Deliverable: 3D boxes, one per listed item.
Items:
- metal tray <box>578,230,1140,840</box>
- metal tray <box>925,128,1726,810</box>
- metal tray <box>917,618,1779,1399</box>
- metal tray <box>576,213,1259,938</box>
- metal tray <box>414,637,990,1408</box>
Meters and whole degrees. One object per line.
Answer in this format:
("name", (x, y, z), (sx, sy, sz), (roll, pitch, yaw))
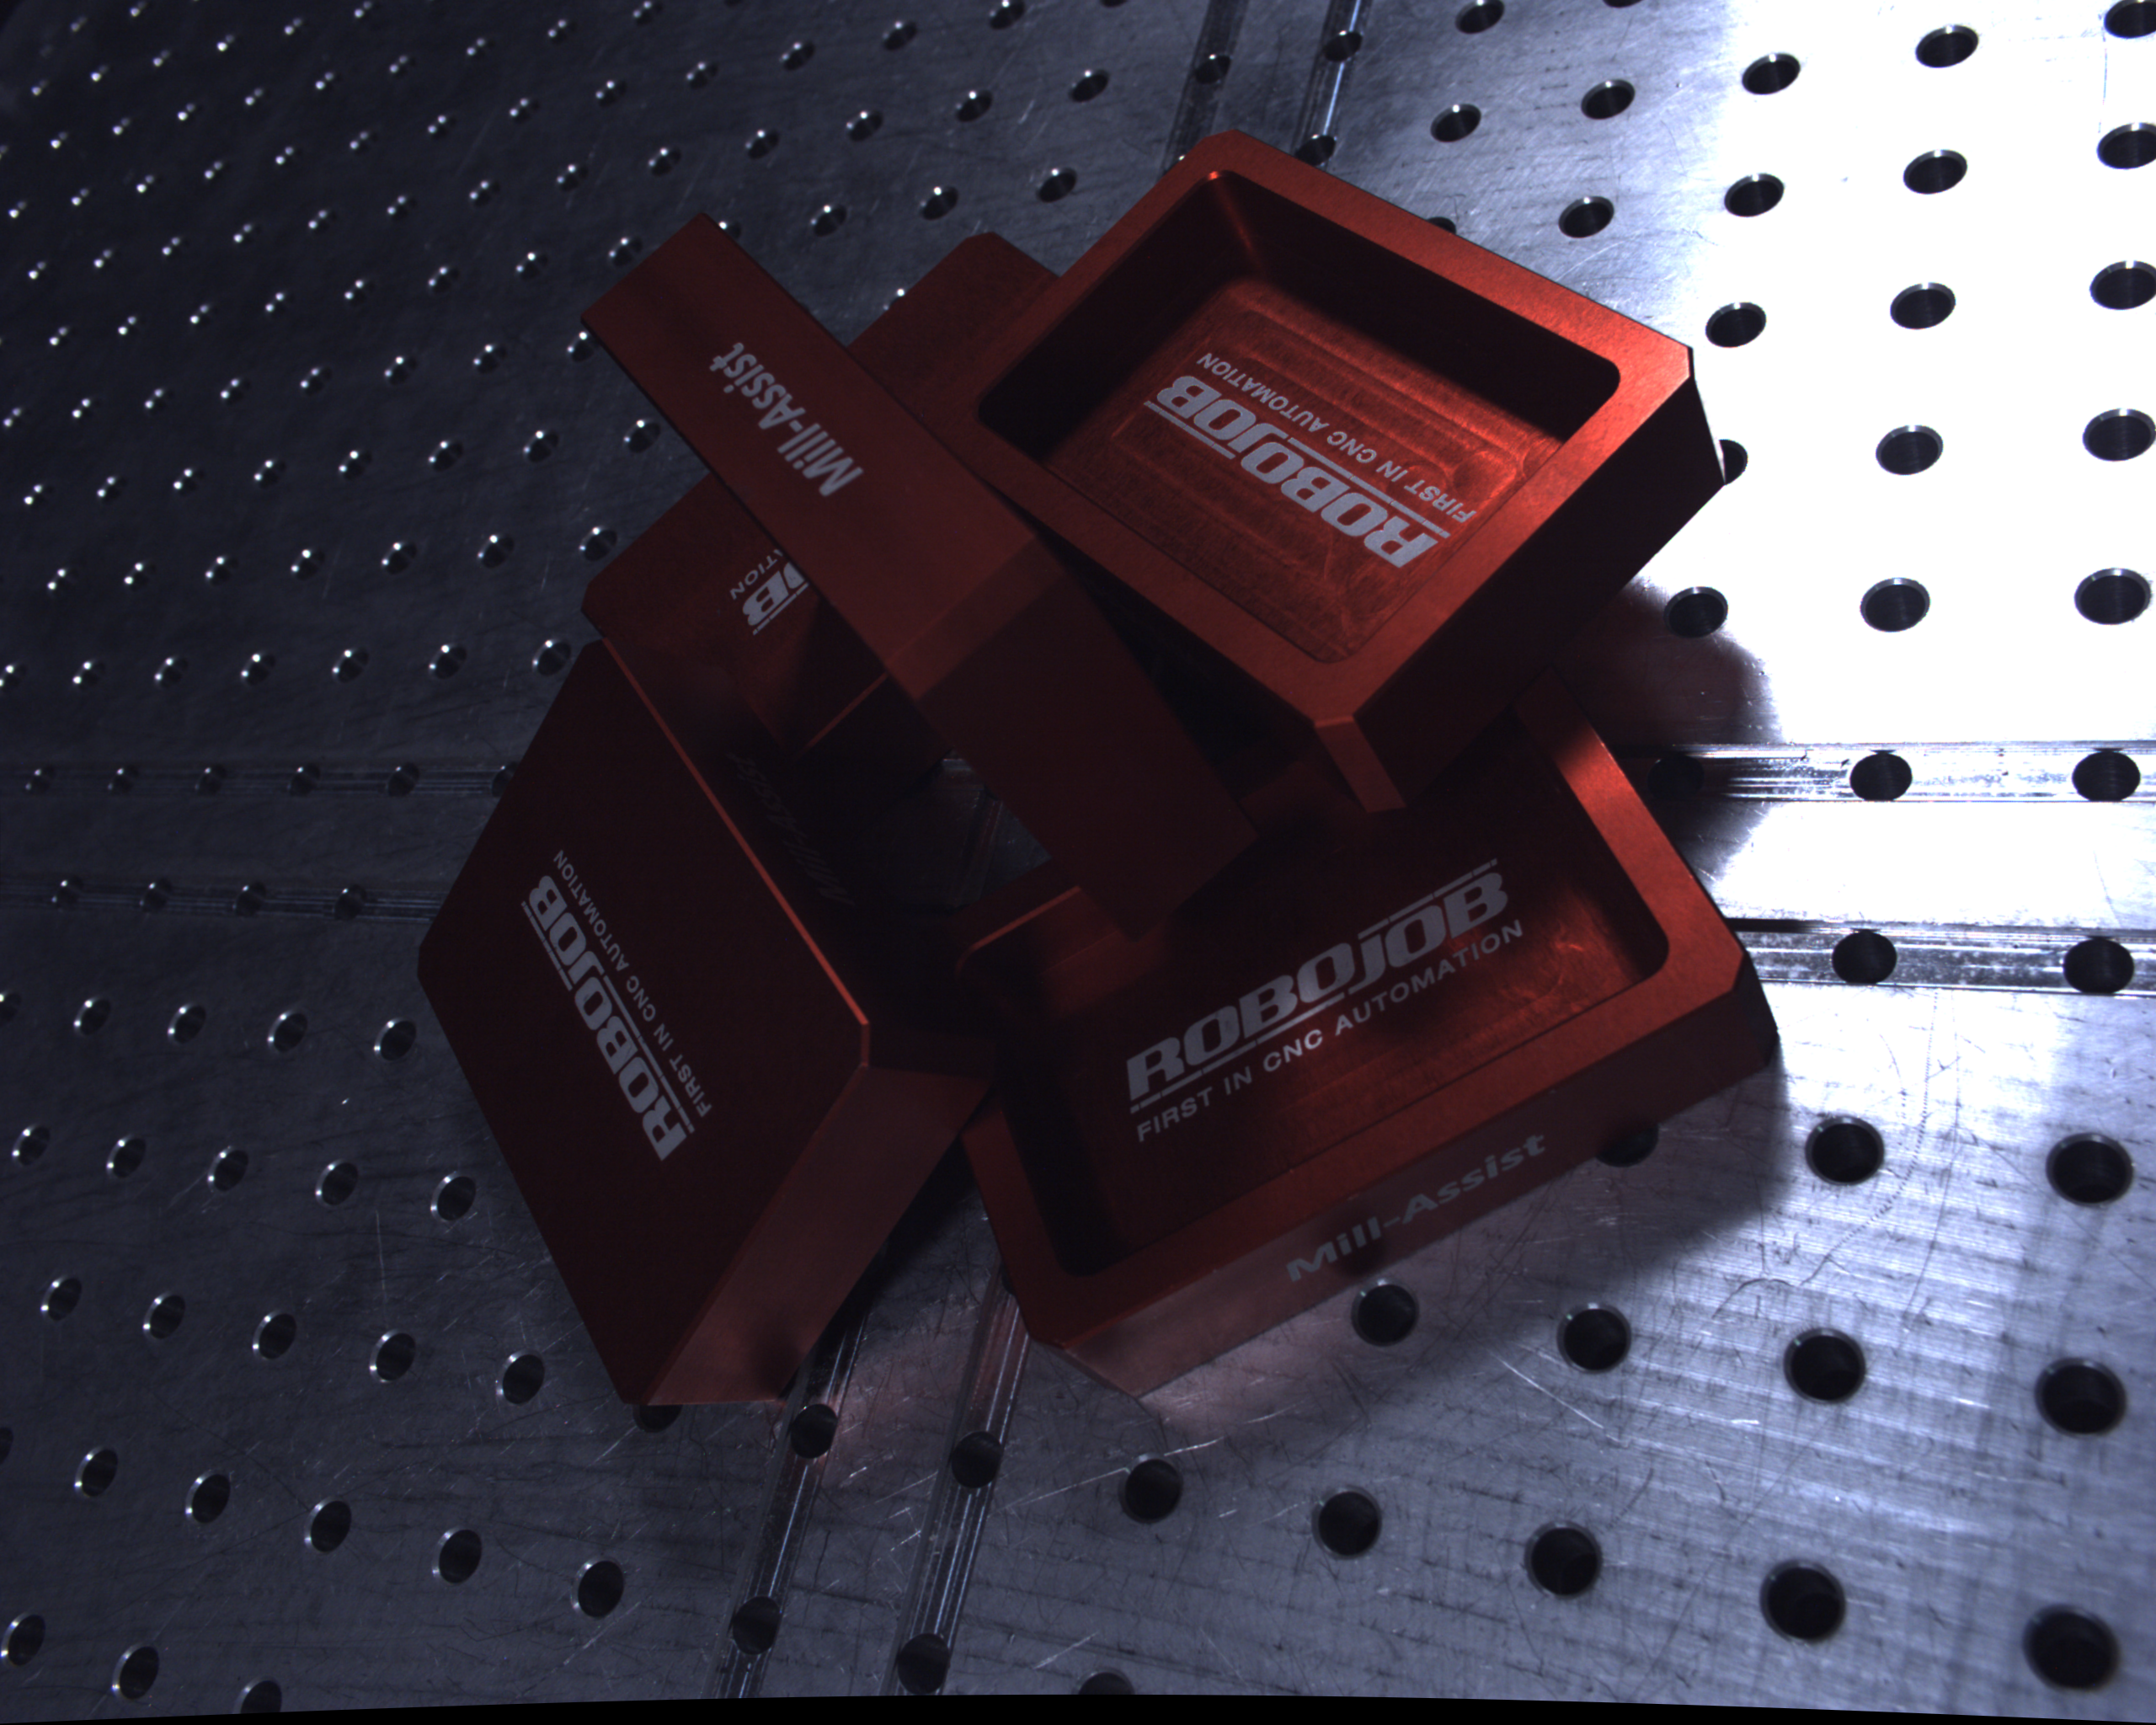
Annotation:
("metal tray", (-0.040, -0.074, 0.469), (0.130, 0.030, 0.090), (-43, 51, -2))
("metal tray", (0.041, -0.079, 0.392), (0.090, 0.030, 0.130), (-45, 51, -4))
("metal tray", (0.041, 0.024, 0.366), (0.130, 0.030, 0.090), (-29, 52, 9))
("metal tray", (-0.030, -0.052, 0.373), (0.030, 0.090, 0.130), (-42, 51, 0))
("metal tray", (-0.078, 0.028, 0.403), (0.090, 0.030, 0.130), (-57, 48, 20))
